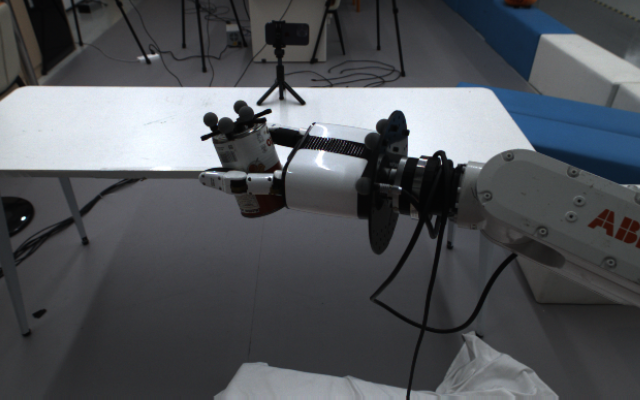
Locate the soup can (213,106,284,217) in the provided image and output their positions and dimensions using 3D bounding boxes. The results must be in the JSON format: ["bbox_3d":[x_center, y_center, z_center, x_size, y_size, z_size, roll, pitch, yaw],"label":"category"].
[{"bbox_3d":[-0.078,-0.038,0.582,0.067,0.101,0.067,-16,23,7],"label":"soup can"}]
